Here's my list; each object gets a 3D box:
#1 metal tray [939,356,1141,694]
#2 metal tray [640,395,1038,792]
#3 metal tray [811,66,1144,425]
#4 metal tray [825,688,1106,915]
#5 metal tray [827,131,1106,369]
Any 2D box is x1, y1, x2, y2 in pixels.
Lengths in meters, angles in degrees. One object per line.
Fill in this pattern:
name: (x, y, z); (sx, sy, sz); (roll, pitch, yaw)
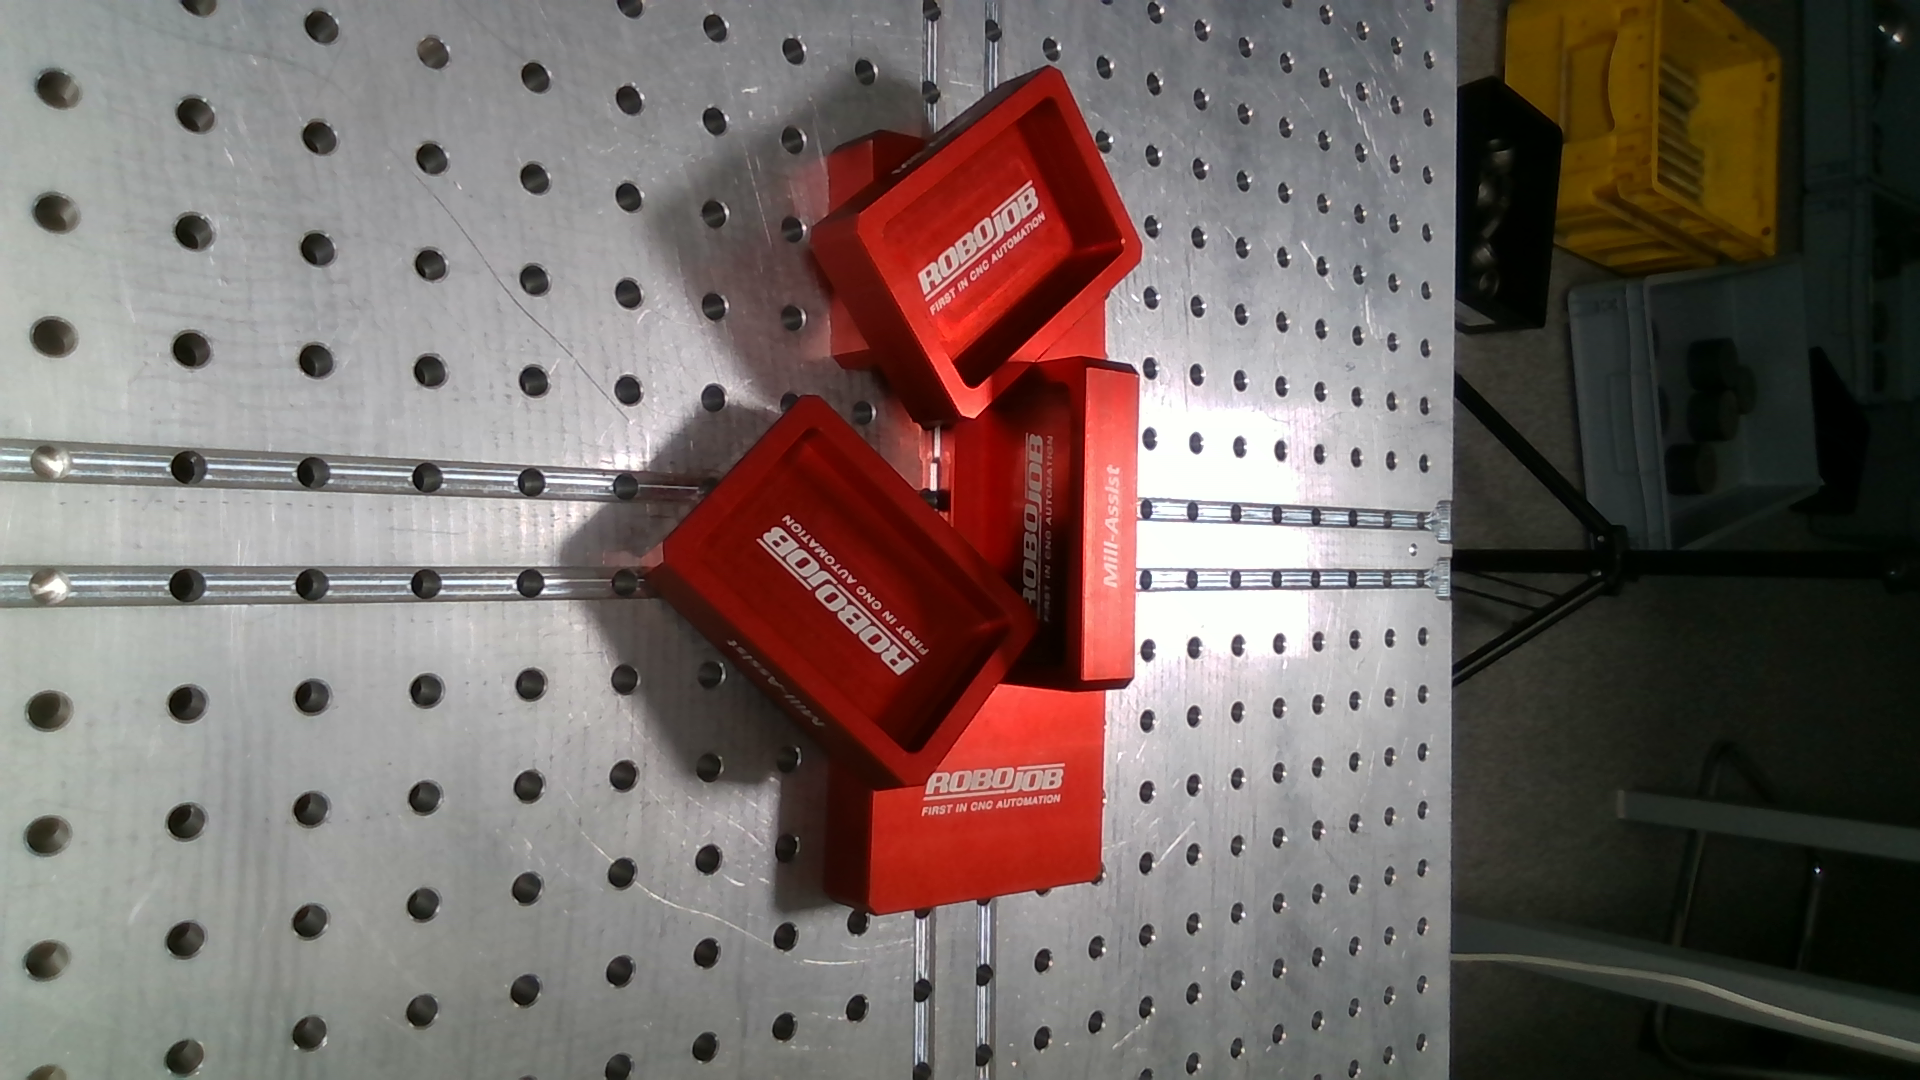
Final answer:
metal tray: (0.031, -0.006, 0.569); (0.030, 0.090, 0.130); (2, 89, -40)
metal tray: (-0.043, 0.021, 0.522); (0.130, 0.030, 0.090); (45, 62, -12)
metal tray: (0.011, -0.118, 0.551); (0.130, 0.030, 0.090); (-45, 118, -30)
metal tray: (0.006, 0.104, 0.587); (0.130, 0.030, 0.090); (4, 88, -40)
metal tray: (0.006, -0.116, 0.588); (0.130, 0.030, 0.090); (-1, 91, -40)
